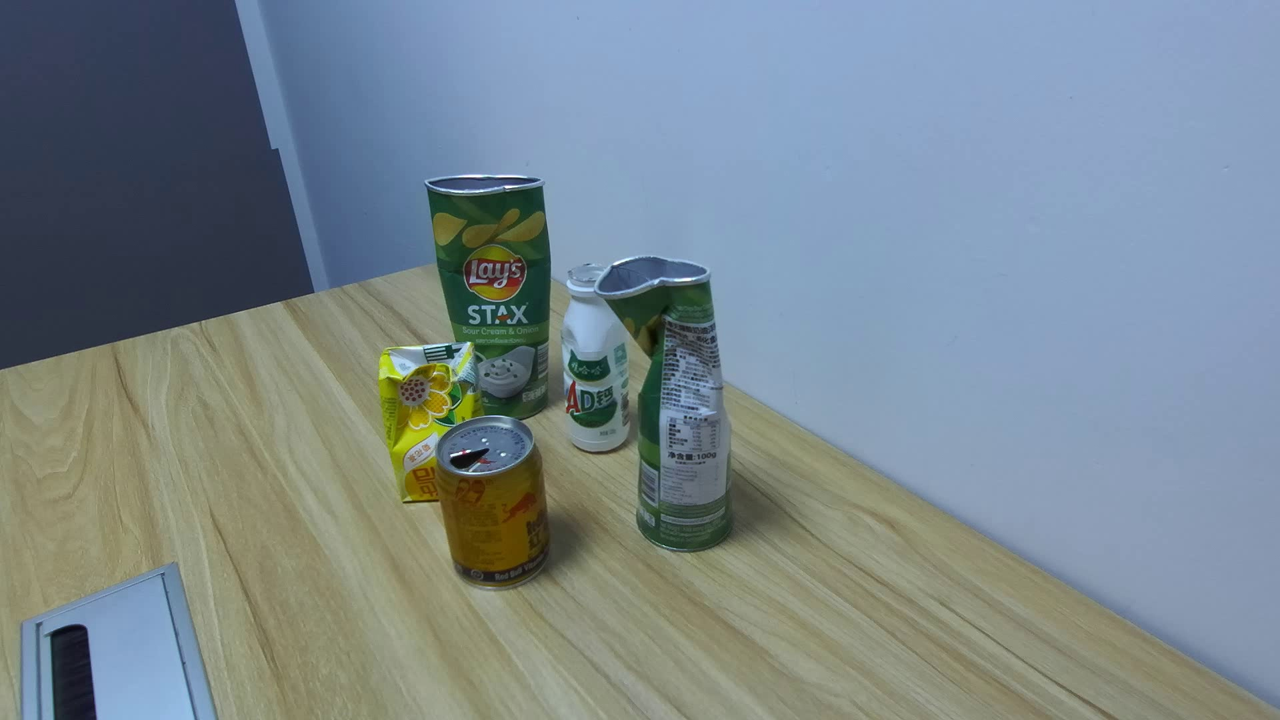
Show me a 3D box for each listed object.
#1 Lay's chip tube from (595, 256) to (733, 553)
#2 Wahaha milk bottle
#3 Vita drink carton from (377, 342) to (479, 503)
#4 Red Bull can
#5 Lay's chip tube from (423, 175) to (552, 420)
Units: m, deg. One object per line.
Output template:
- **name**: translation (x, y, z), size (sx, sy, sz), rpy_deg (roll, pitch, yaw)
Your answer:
- **Lay's chip tube**: translation (0.020, 0.029, 0.453), size (0.071, 0.200, 0.079), rpy_deg (-9, 29, 1)
- **Wahaha milk bottle**: translation (-0.036, 0.001, 0.548), size (0.055, 0.149, 0.055), rpy_deg (-2, 31, 1)
- **Vita drink carton**: translation (-0.149, 0.047, 0.516), size (0.071, 0.110, 0.046), rpy_deg (-4, 27, -6)
- **Red Bull can**: translation (-0.094, 0.091, 0.453), size (0.067, 0.093, 0.067), rpy_deg (0, 30, 0)
- **Lay's chip tube**: translation (-0.118, -0.050, 0.590), size (0.075, 0.200, 0.068), rpy_deg (-22, 36, -32)
